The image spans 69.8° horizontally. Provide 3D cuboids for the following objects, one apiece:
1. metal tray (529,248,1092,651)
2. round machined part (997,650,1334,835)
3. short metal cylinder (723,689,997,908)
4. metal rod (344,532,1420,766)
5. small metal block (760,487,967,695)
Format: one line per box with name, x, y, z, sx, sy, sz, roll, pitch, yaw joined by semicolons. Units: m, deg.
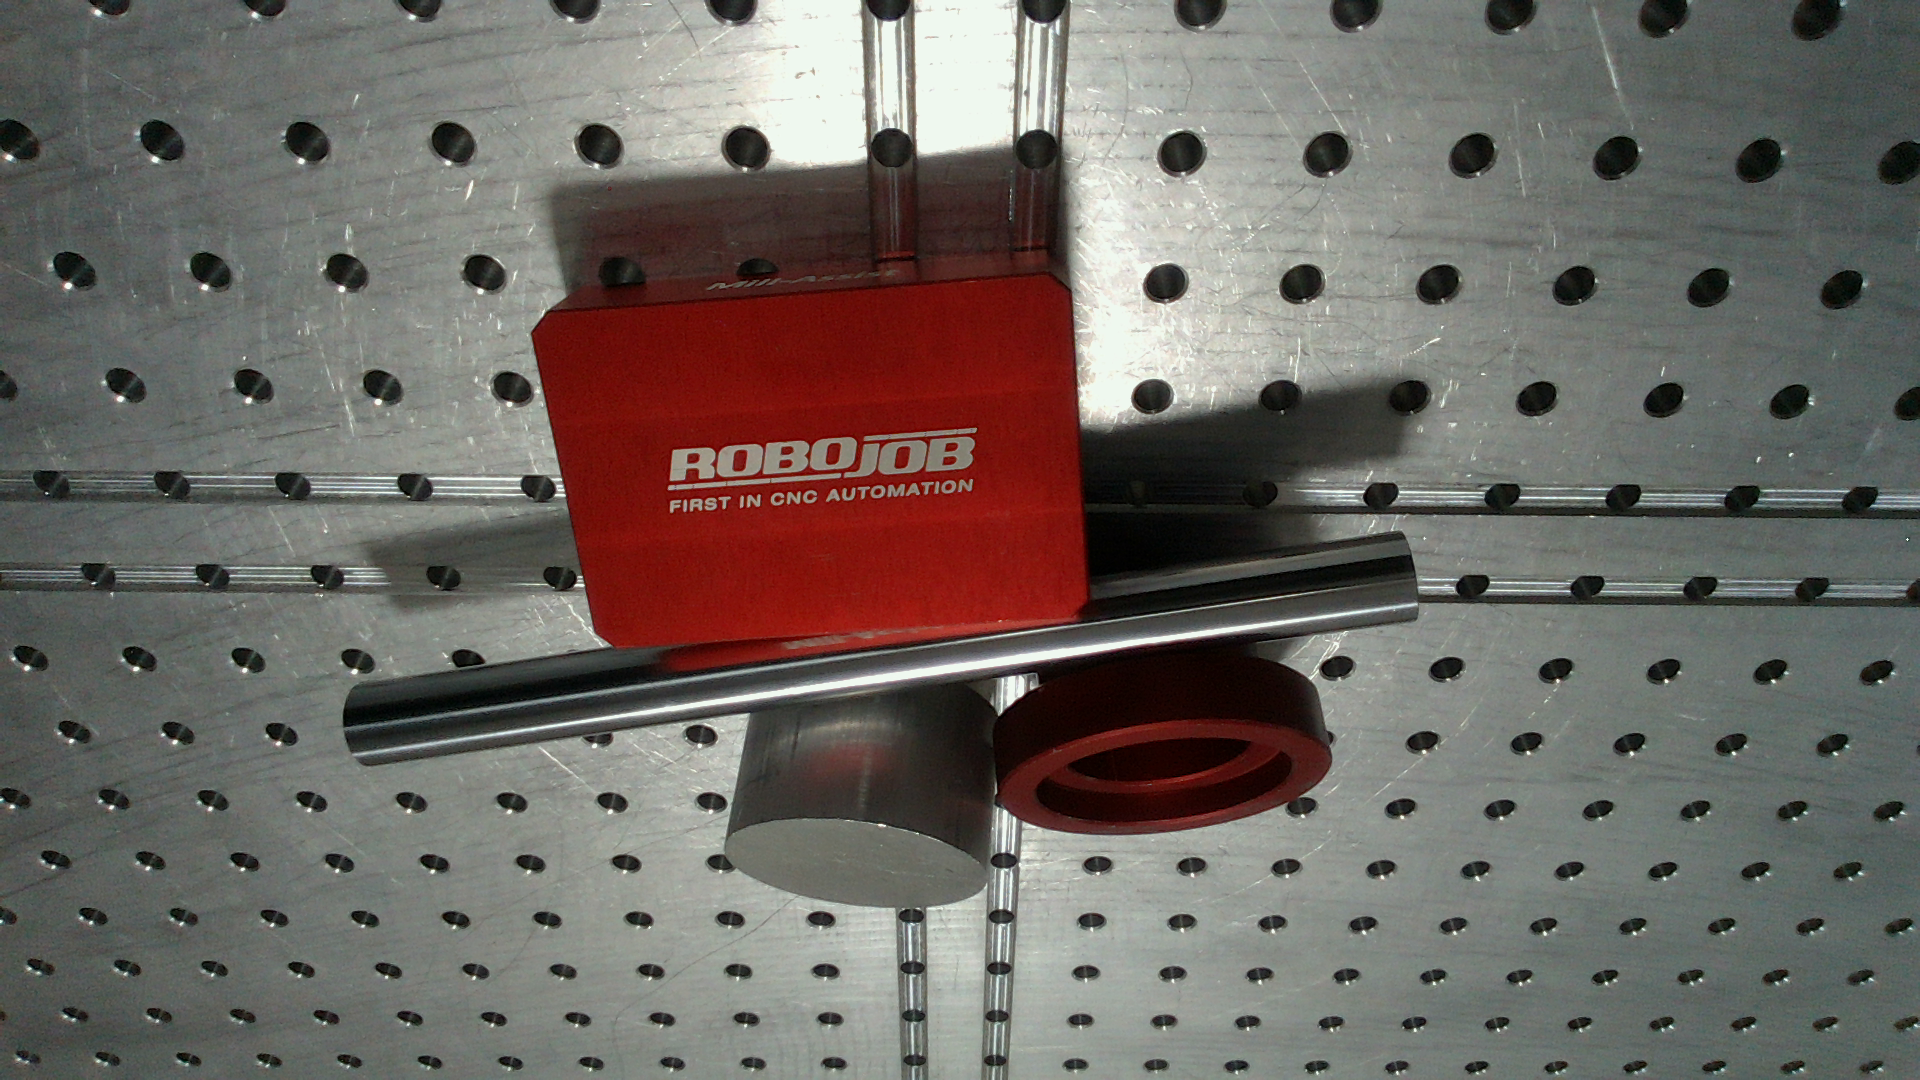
metal tray;-0.034;-0.022;0.353;0.130;0.030;0.090;-4;111;3
round machined part;0.059;0.054;0.413;0.098;0.042;0.098;-3;152;-2
short metal cylinder;-0.029;0.077;0.427;0.080;0.050;0.080;4;149;3
metal rod;-0.027;0.032;0.387;0.300;0.025;0.025;-9;130;7
small metal block;-0.029;0.016;0.418;0.050;0.025;0.050;14;129;-12
